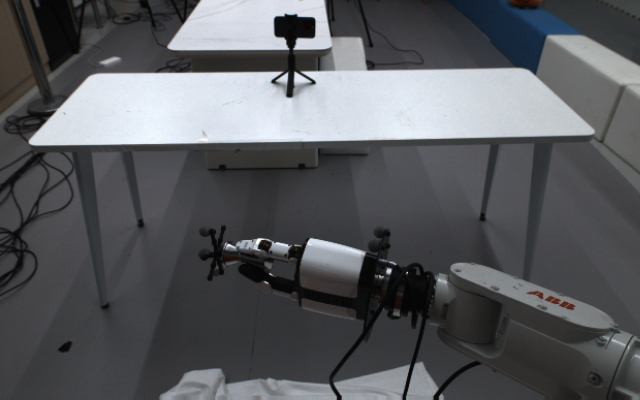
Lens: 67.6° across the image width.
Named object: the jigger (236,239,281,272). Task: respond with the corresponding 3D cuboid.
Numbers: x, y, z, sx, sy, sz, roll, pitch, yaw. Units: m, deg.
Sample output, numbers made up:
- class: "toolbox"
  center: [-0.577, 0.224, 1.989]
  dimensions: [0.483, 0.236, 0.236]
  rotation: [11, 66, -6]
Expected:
- class: "jigger"
  center: [-0.100, 0.080, 0.728]
  dimensions: [0.071, 0.043, 0.043]
  rotation: [4, 34, 13]
